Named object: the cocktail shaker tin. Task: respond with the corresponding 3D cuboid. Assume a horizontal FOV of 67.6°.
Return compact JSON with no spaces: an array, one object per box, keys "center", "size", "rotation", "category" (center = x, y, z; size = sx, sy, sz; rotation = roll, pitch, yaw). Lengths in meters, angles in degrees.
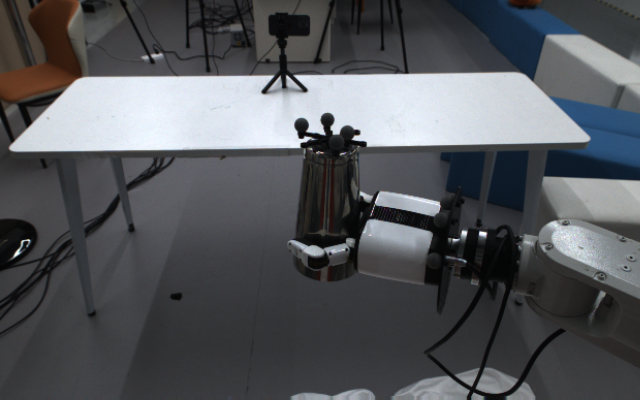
[{"center":[0.013,0.008,0.624],"size":[0.093,0.170,0.093],"rotation":[1,28,-1],"category":"cocktail shaker tin"}]
